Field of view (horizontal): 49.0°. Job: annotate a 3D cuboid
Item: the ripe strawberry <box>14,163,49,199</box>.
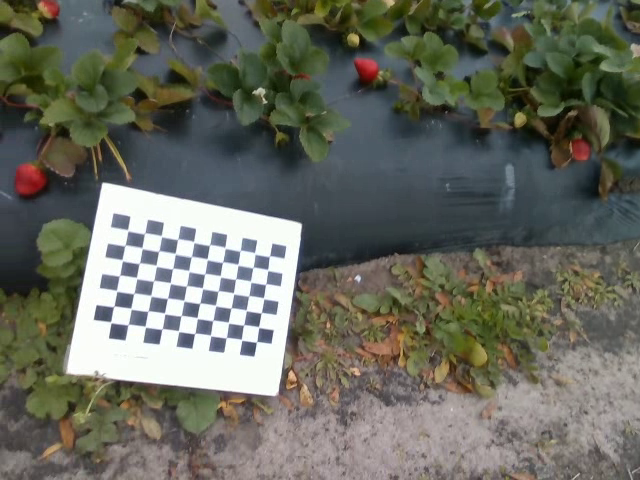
[{"bbox_3d":[-0.255,-0.063,0.623,0.028,0.033,0.022,25,-20,-10],"label":"ripe strawberry"}]
